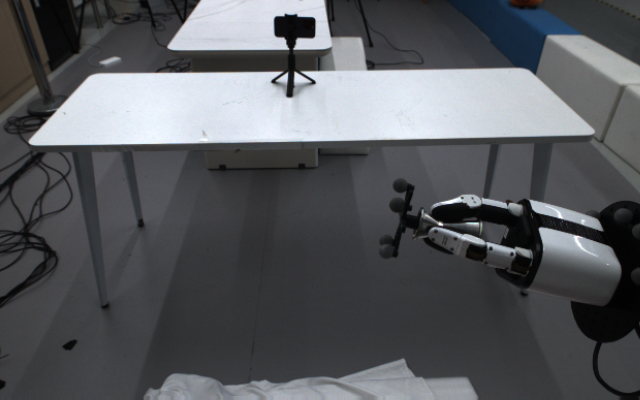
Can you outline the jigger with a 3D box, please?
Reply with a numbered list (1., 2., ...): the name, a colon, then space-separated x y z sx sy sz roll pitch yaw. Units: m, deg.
1. jigger: 0.150 0.033 0.551 0.071 0.043 0.043 14 36 5
